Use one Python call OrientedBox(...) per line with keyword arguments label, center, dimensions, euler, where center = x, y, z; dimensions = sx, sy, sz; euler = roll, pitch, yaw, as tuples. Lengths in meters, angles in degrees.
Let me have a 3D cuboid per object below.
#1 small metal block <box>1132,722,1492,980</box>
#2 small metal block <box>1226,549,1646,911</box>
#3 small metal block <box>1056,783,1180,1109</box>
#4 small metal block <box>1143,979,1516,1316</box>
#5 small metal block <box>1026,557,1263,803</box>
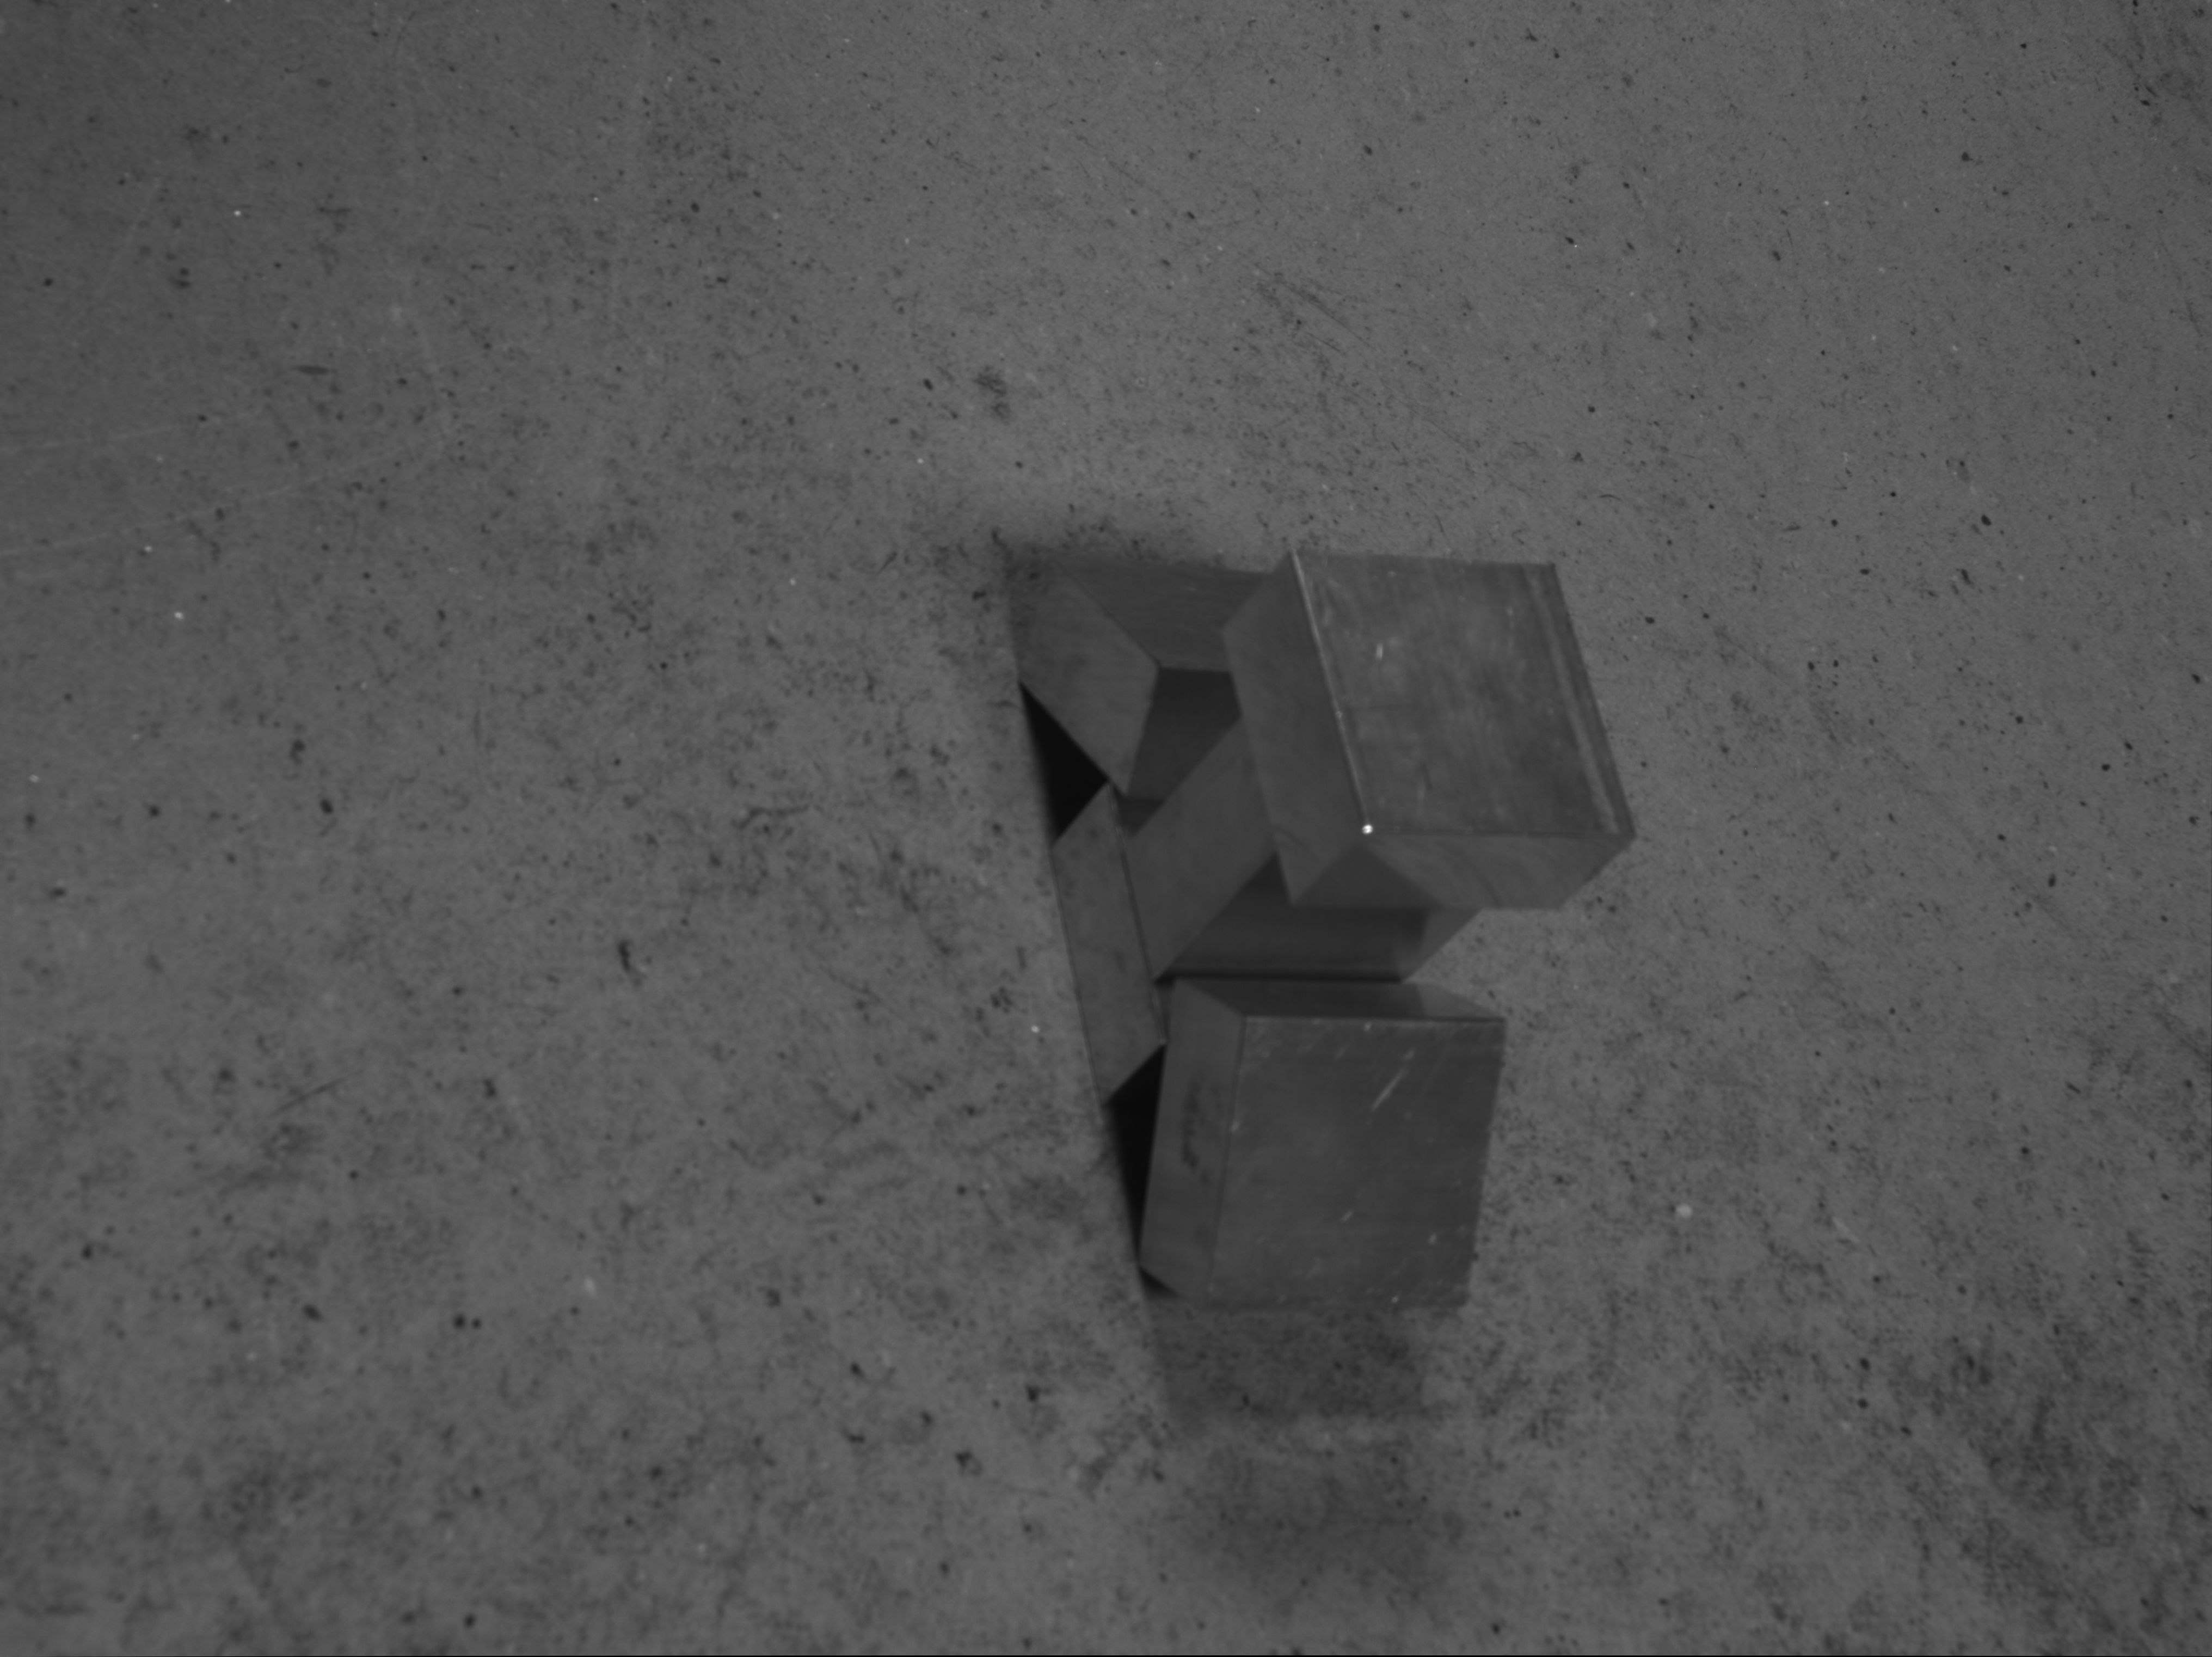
OrientedBox(label="small metal block", center=(0.039, 0.003, 0.610), dimensions=(0.050, 0.050, 0.025), euler=(3, 60, -27))
OrientedBox(label="small metal block", center=(0.052, -0.015, 0.581), dimensions=(0.050, 0.025, 0.050), euler=(1, 61, -28))
OrientedBox(label="small metal block", center=(0.023, 0.021, 0.640), dimensions=(0.050, 0.025, 0.050), euler=(3, 60, -27))
OrientedBox(label="small metal block", center=(0.037, 0.053, 0.611), dimensions=(0.050, 0.025, 0.050), euler=(2, 101, -27))
OrientedBox(label="small metal block", center=(0.020, -0.026, 0.651), dimensions=(0.050, 0.025, 0.050), euler=(2, 25, -27))
